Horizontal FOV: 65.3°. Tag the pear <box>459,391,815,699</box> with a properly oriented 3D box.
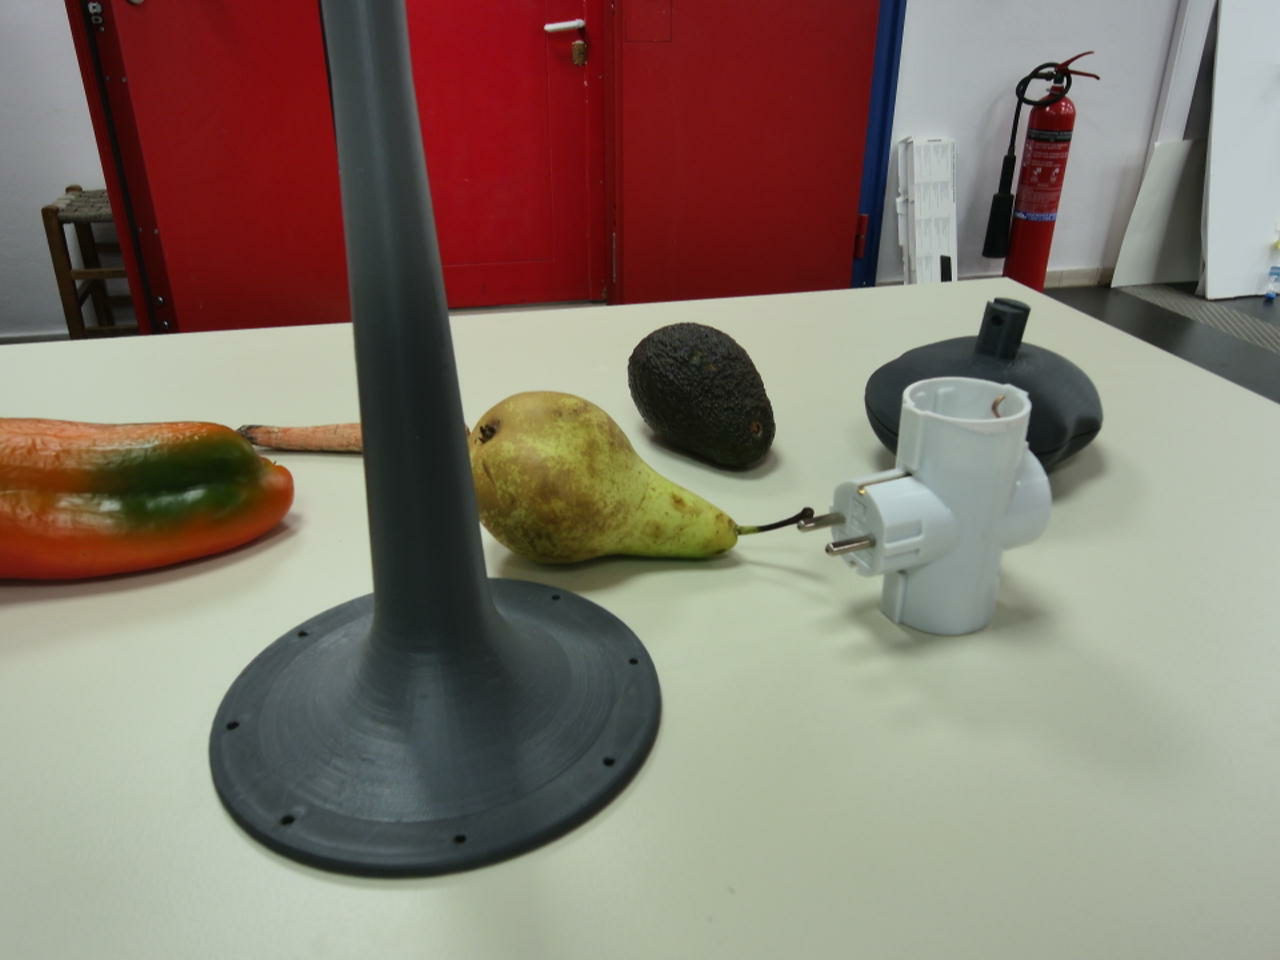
[{"bbox_3d":[-0.004,-0.003,0.429,0.144,0.075,0.071,-3,24,-6],"label":"pear"}]
